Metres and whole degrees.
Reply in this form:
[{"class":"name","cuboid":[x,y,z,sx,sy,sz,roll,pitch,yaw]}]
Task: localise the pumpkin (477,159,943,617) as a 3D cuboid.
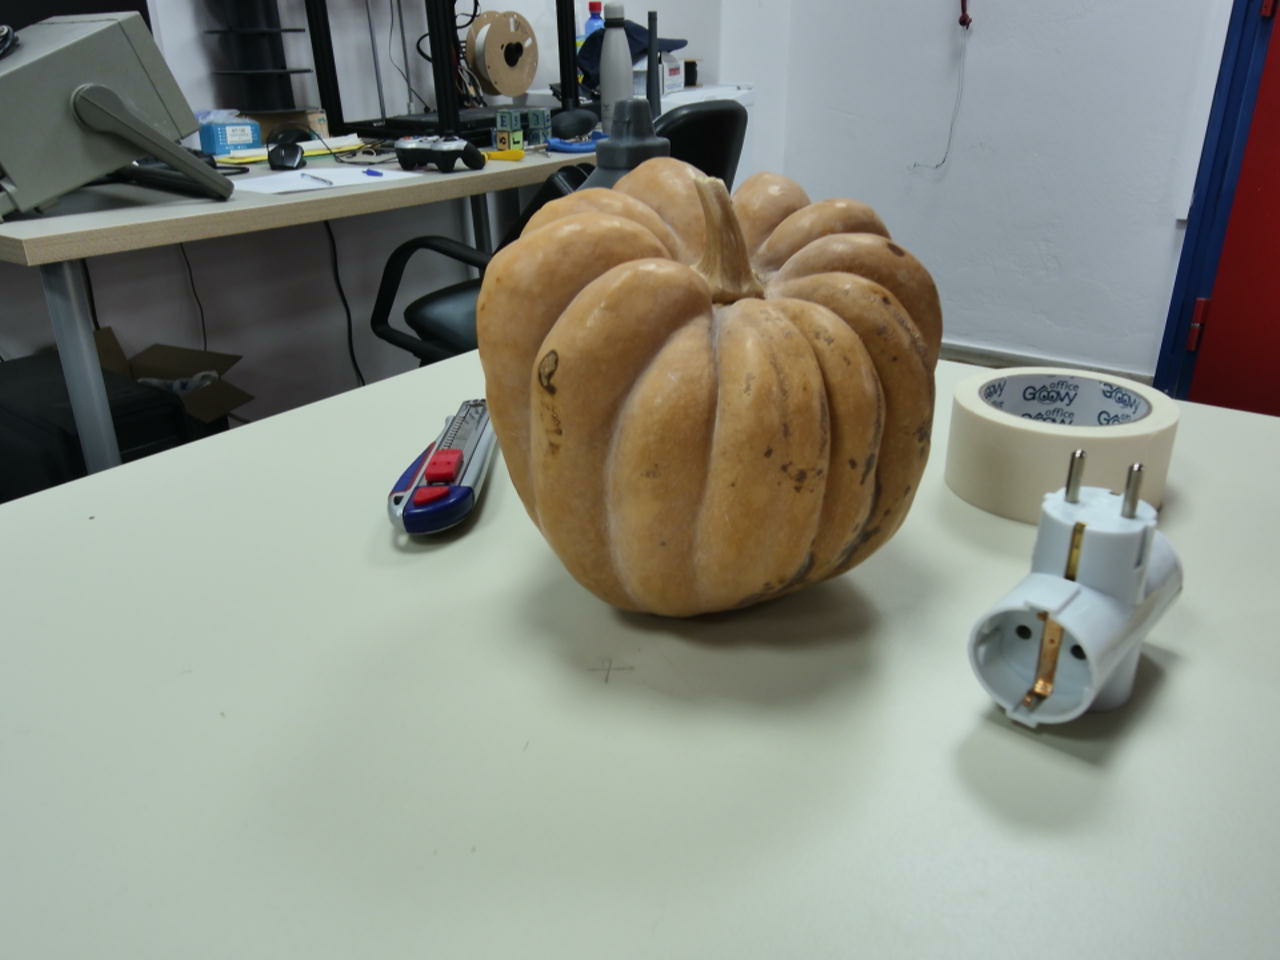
[{"class":"pumpkin","cuboid":[0.028,-0.039,0.422,0.199,0.177,0.198,0,23,0]}]
